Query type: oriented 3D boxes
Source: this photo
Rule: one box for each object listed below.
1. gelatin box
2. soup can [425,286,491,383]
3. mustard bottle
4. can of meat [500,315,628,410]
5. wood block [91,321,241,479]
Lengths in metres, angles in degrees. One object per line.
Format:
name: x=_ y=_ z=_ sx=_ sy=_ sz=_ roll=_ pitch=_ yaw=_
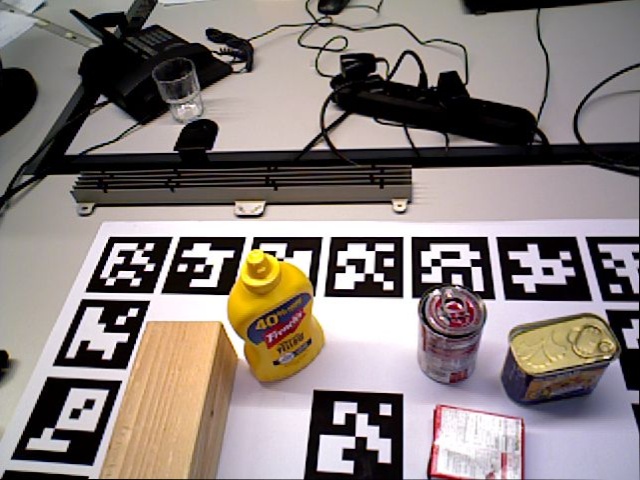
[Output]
gelatin box: x=0.159 y=0.214 z=0.523 sx=0.090 sy=0.030 sz=0.072 roll=7 pitch=54 yaw=17
soup can: x=0.145 y=0.098 z=0.567 sx=0.068 sy=0.104 sz=0.067 roll=-5 pitch=51 yaw=5
mustard bottle: x=-0.050 y=0.083 z=0.569 sx=0.095 sy=0.195 sz=0.058 roll=-18 pitch=50 yaw=-9
can of meat: x=0.241 y=0.128 z=0.551 sx=0.101 sy=0.085 sz=0.057 roll=-9 pitch=51 yaw=-2
wood block: x=-0.152 y=0.194 z=0.557 sx=0.091 sy=0.092 sz=0.202 roll=2 pitch=47 yaw=8
